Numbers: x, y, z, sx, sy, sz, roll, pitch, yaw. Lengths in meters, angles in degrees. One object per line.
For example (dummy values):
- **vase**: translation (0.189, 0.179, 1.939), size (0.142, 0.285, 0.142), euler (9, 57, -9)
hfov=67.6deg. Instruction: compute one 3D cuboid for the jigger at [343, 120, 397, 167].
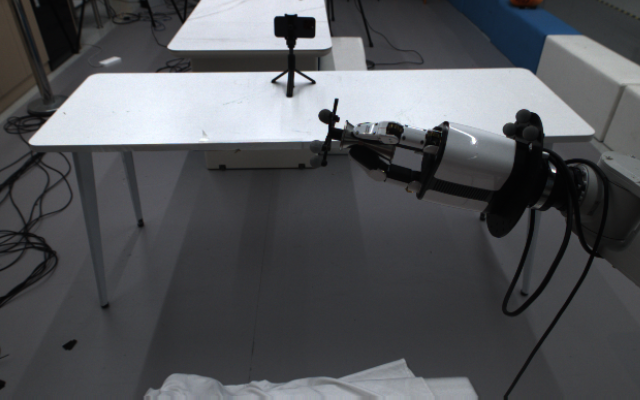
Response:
- **jigger**: translation (0.069, -0.078, 0.620), size (0.071, 0.043, 0.043), euler (13, 36, 4)
